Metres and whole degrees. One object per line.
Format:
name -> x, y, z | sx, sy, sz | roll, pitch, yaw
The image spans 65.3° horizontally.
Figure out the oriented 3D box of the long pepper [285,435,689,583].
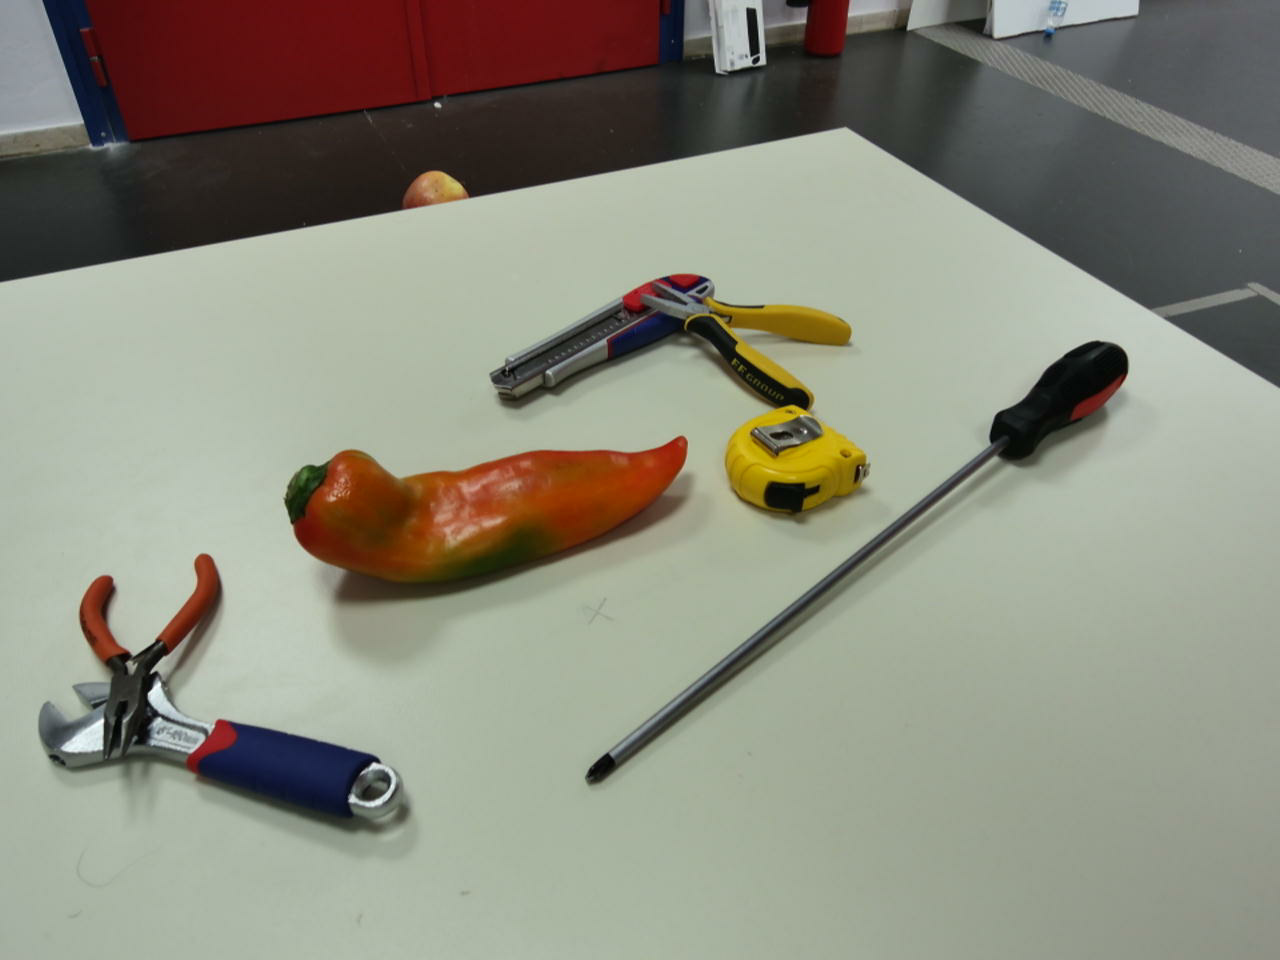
long pepper -> -0.066, 0.002, 0.485 | 0.199, 0.065, 0.066 | -13, 40, -16
